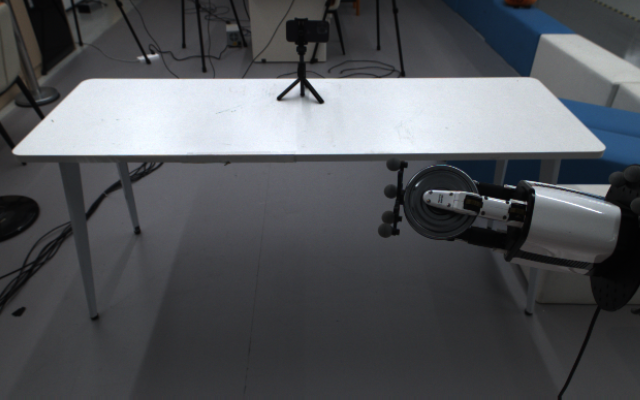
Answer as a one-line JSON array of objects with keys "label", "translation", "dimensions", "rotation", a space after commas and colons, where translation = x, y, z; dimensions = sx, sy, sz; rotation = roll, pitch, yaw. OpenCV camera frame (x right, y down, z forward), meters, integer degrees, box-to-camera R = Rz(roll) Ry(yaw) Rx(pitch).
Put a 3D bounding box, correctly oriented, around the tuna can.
[{"label": "tuna can", "translation": [0.142, -0.001, 0.561], "dimensions": [0.085, 0.085, 0.034], "rotation": [9, -7, 10]}]
